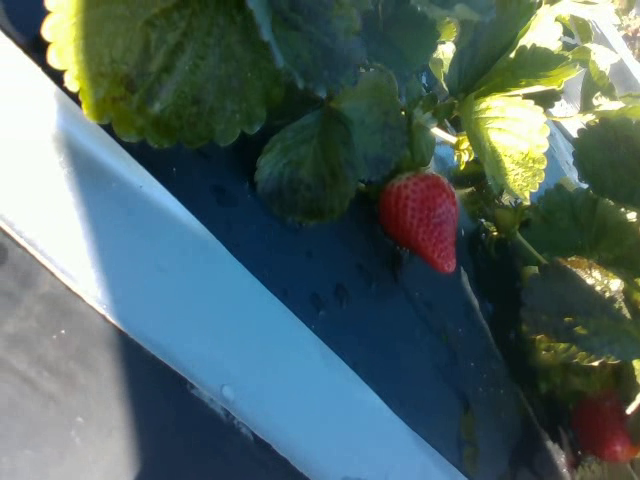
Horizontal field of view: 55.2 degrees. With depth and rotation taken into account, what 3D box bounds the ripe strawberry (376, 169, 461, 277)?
[{"bbox_3d":[0.050,-0.007,0.276,0.045,0.059,0.042,-10,-17,-11],"label":"ripe strawberry"}]
